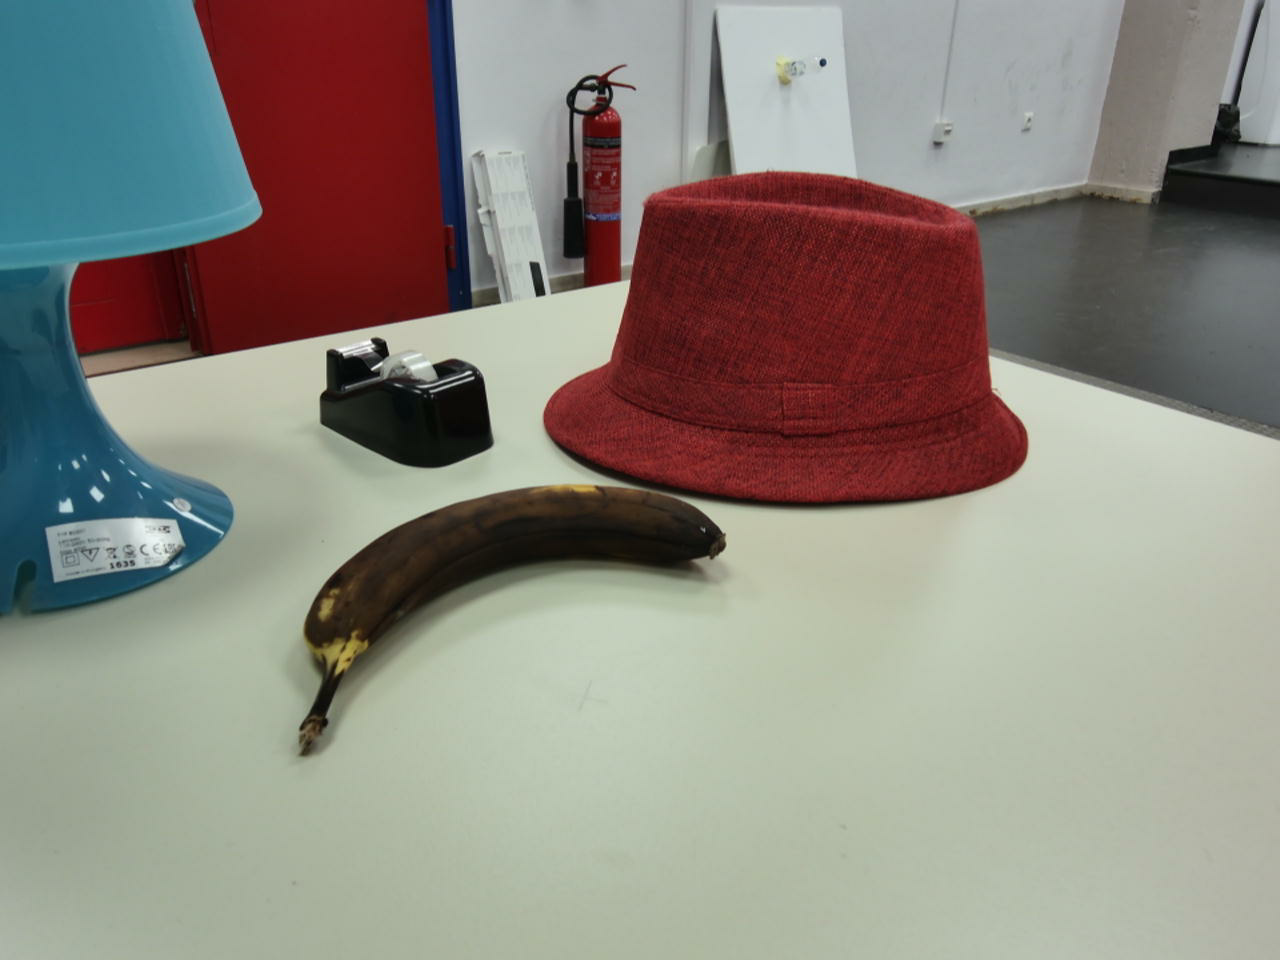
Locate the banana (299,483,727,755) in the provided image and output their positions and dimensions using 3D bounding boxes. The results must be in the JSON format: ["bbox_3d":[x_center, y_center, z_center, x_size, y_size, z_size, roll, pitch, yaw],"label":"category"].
[{"bbox_3d":[-0.060,0.034,0.396,0.188,0.034,0.091,-17,29,-34],"label":"banana"}]
